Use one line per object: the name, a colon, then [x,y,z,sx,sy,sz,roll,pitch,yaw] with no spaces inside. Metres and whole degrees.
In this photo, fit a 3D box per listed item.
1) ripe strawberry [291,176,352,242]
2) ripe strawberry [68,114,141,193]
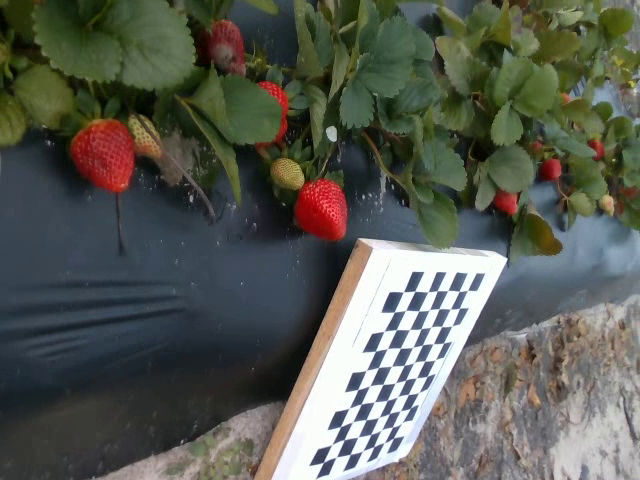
ripe strawberry: [0.005,-0.018,0.520,0.057,0.056,0.065,-22,45,-13]
ripe strawberry: [-0.124,-0.049,0.372,0.043,0.052,0.041,-14,-9,-37]
